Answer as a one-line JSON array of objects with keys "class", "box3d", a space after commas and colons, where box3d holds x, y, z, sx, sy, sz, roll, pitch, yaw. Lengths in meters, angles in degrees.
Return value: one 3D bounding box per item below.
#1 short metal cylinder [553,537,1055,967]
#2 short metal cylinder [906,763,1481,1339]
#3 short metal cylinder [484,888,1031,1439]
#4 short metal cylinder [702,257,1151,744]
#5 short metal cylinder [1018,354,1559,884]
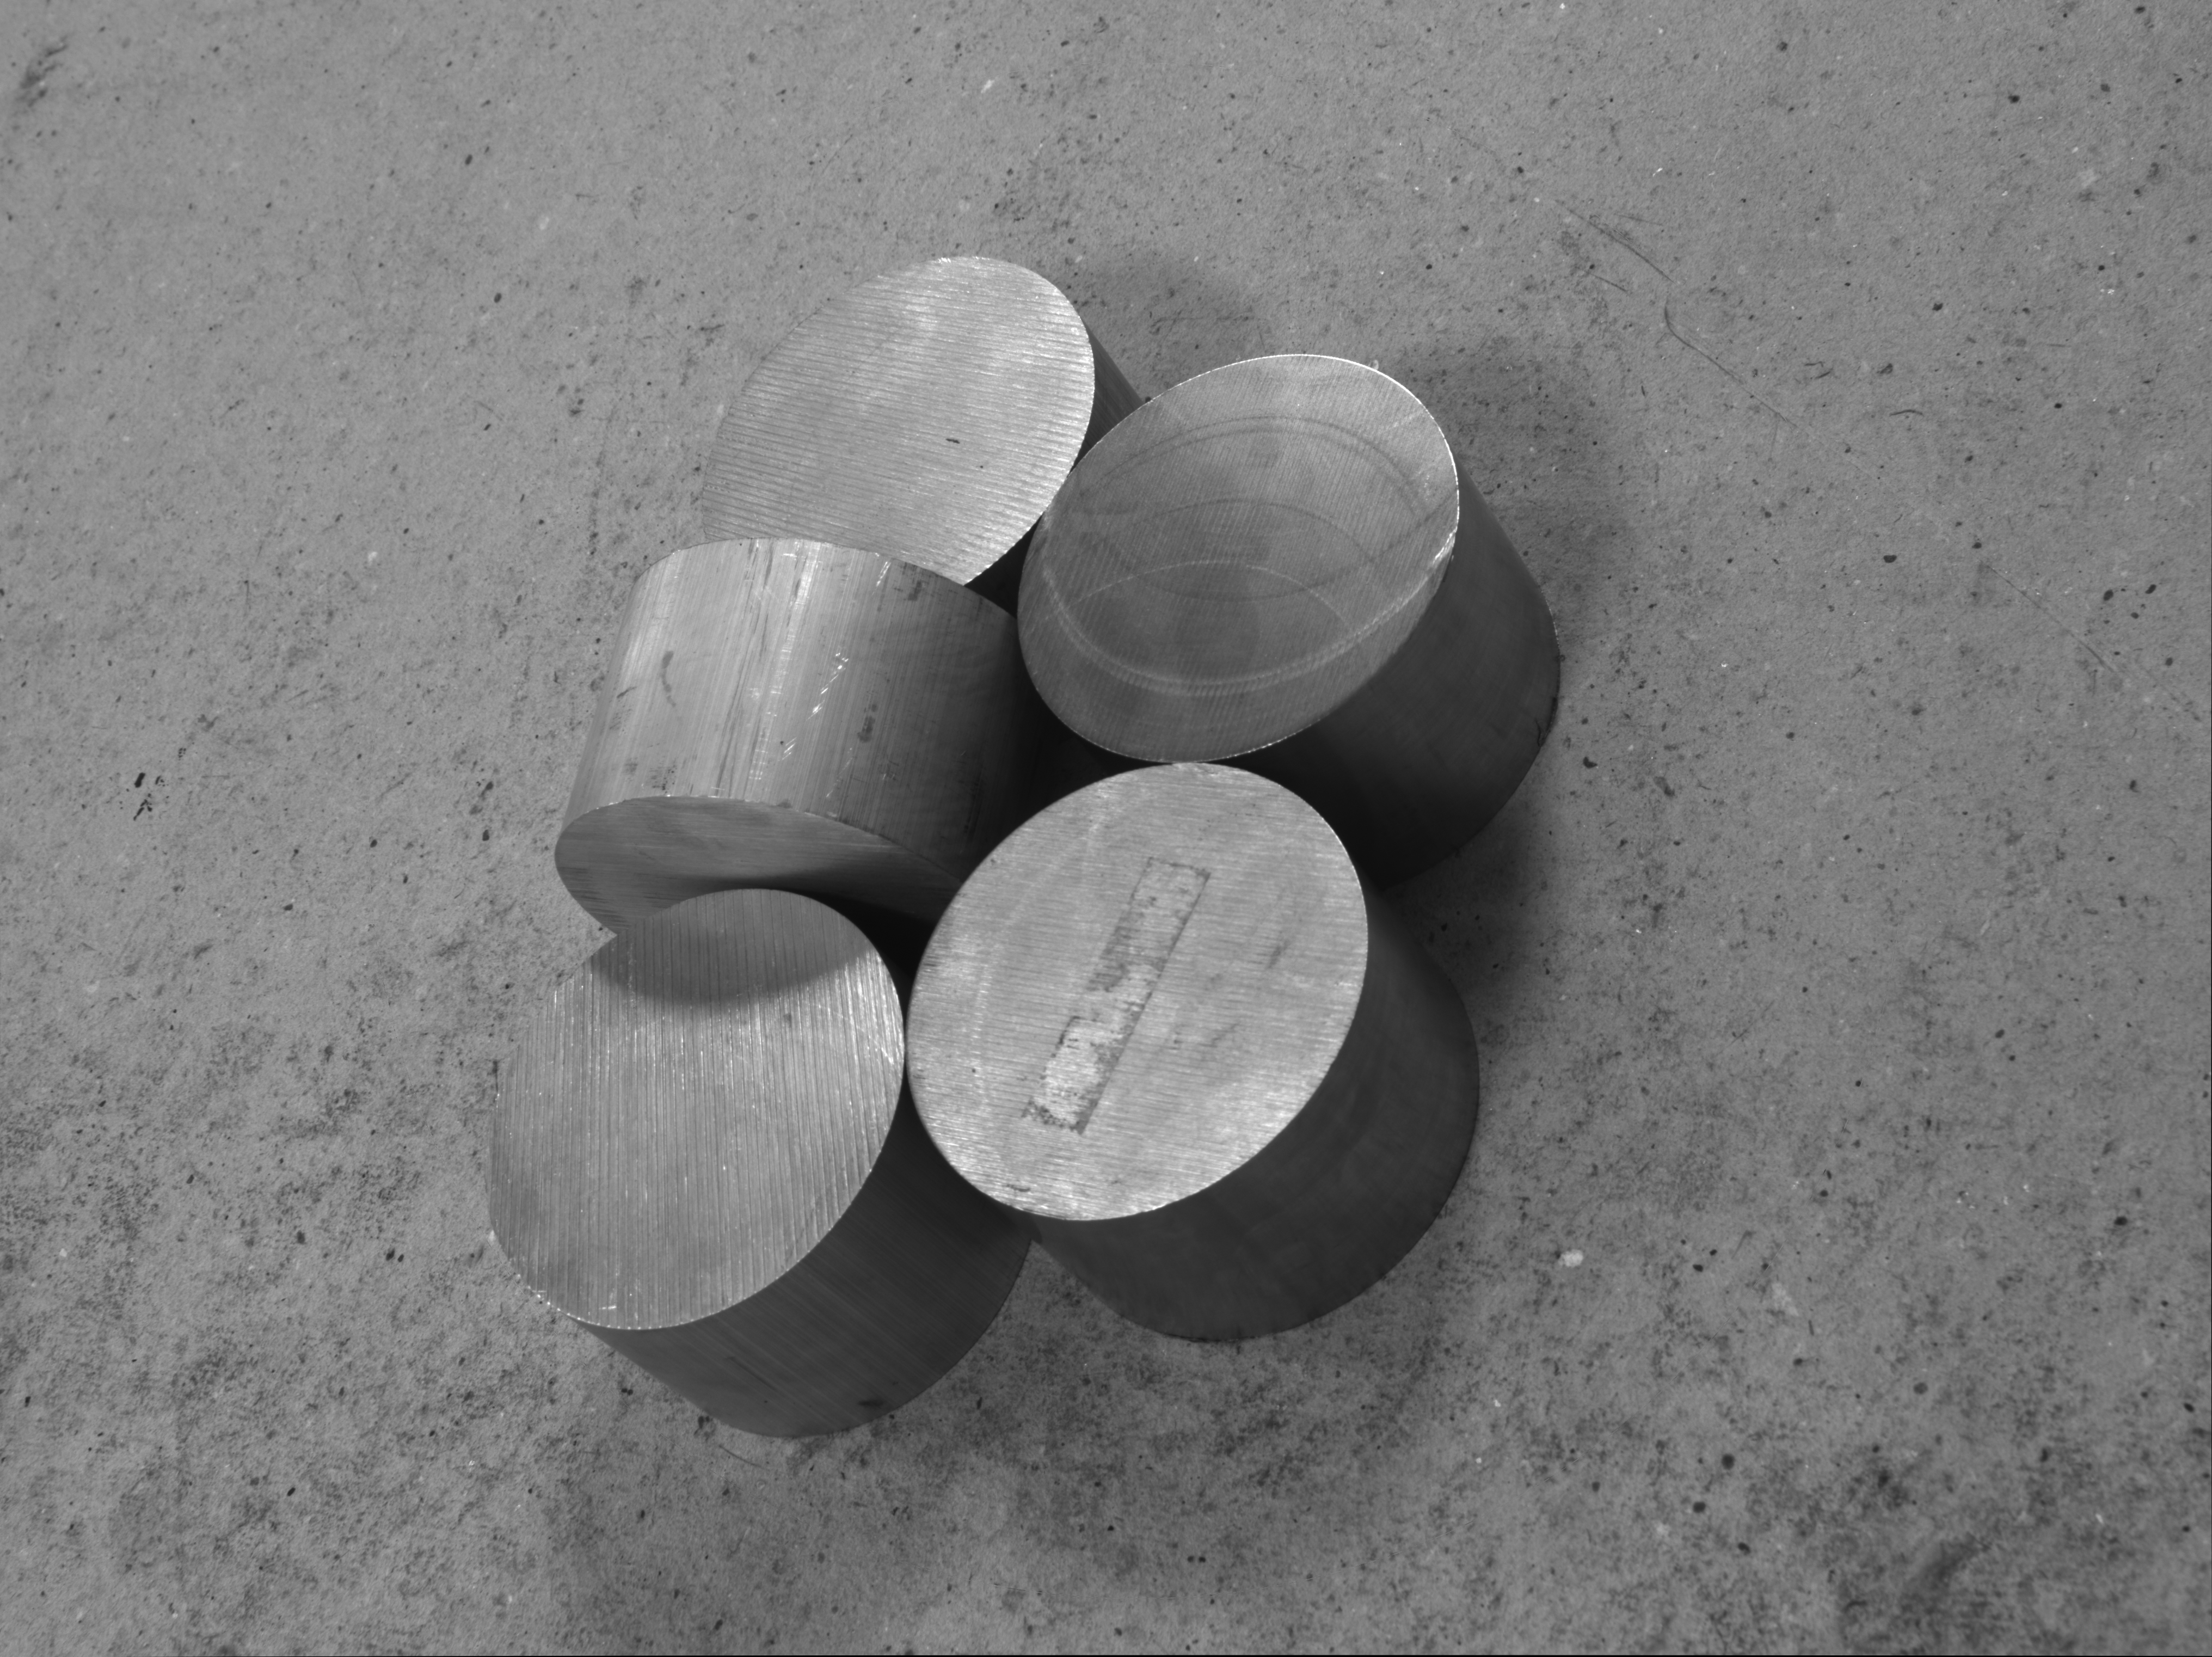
[{"class": "short metal cylinder", "box3d": [-0.051, -0.008, 0.642, 0.080, 0.080, 0.050, -3, 60, 27]}, {"class": "short metal cylinder", "box3d": [0.015, 0.036, 0.597, 0.080, 0.050, 0.080, -14, 56, 22]}, {"class": "short metal cylinder", "box3d": [-0.058, 0.057, 0.625, 0.080, 0.050, 0.080, -14, 56, 22]}, {"class": "short metal cylinder", "box3d": [-0.027, -0.058, 0.680, 0.080, 0.050, 0.080, -14, 56, 22]}, {"class": "short metal cylinder", "box3d": [0.032, -0.034, 0.632, 0.080, 0.050, 0.080, -13, 56, 21]}]
